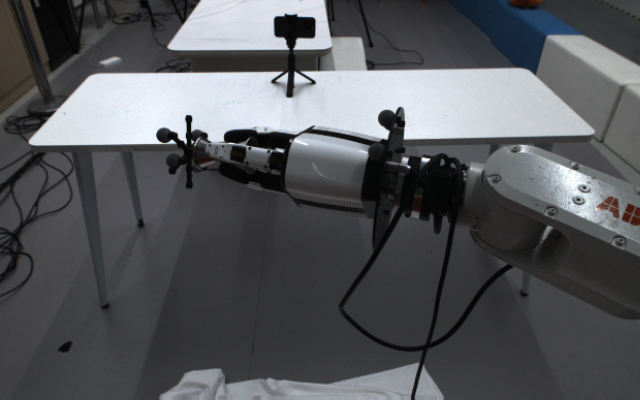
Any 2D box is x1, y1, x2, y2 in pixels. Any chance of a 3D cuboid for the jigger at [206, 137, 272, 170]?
[{"bbox_3d":[-0.103,-0.059,0.580,0.071,0.043,0.043,4,34,16],"label":"jigger"}]
